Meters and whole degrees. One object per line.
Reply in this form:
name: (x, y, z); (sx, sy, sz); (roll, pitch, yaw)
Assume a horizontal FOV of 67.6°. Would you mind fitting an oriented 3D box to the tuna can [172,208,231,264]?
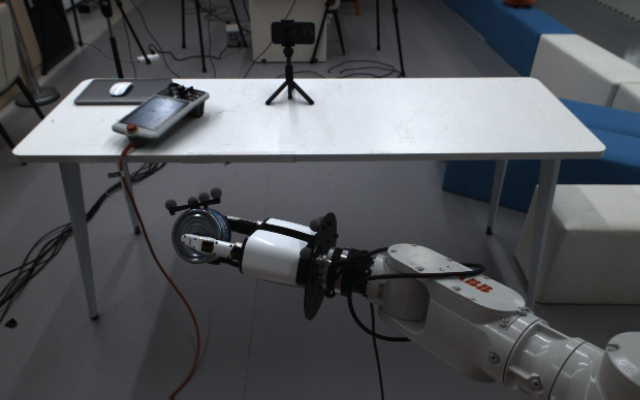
tuna can: (-0.182, 0.056, 0.743); (0.085, 0.085, 0.034); (12, 3, 14)
